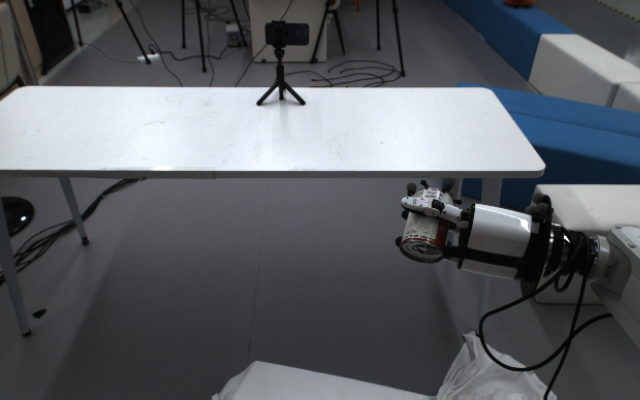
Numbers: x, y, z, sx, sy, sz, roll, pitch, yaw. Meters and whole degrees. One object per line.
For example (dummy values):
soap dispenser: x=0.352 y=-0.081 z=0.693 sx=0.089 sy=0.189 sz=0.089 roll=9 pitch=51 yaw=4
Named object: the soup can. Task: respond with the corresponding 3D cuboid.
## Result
soup can: x=0.170 y=0.038 z=0.767 sx=0.067 sy=0.067 sz=0.101 roll=12 pitch=59 yaw=14
